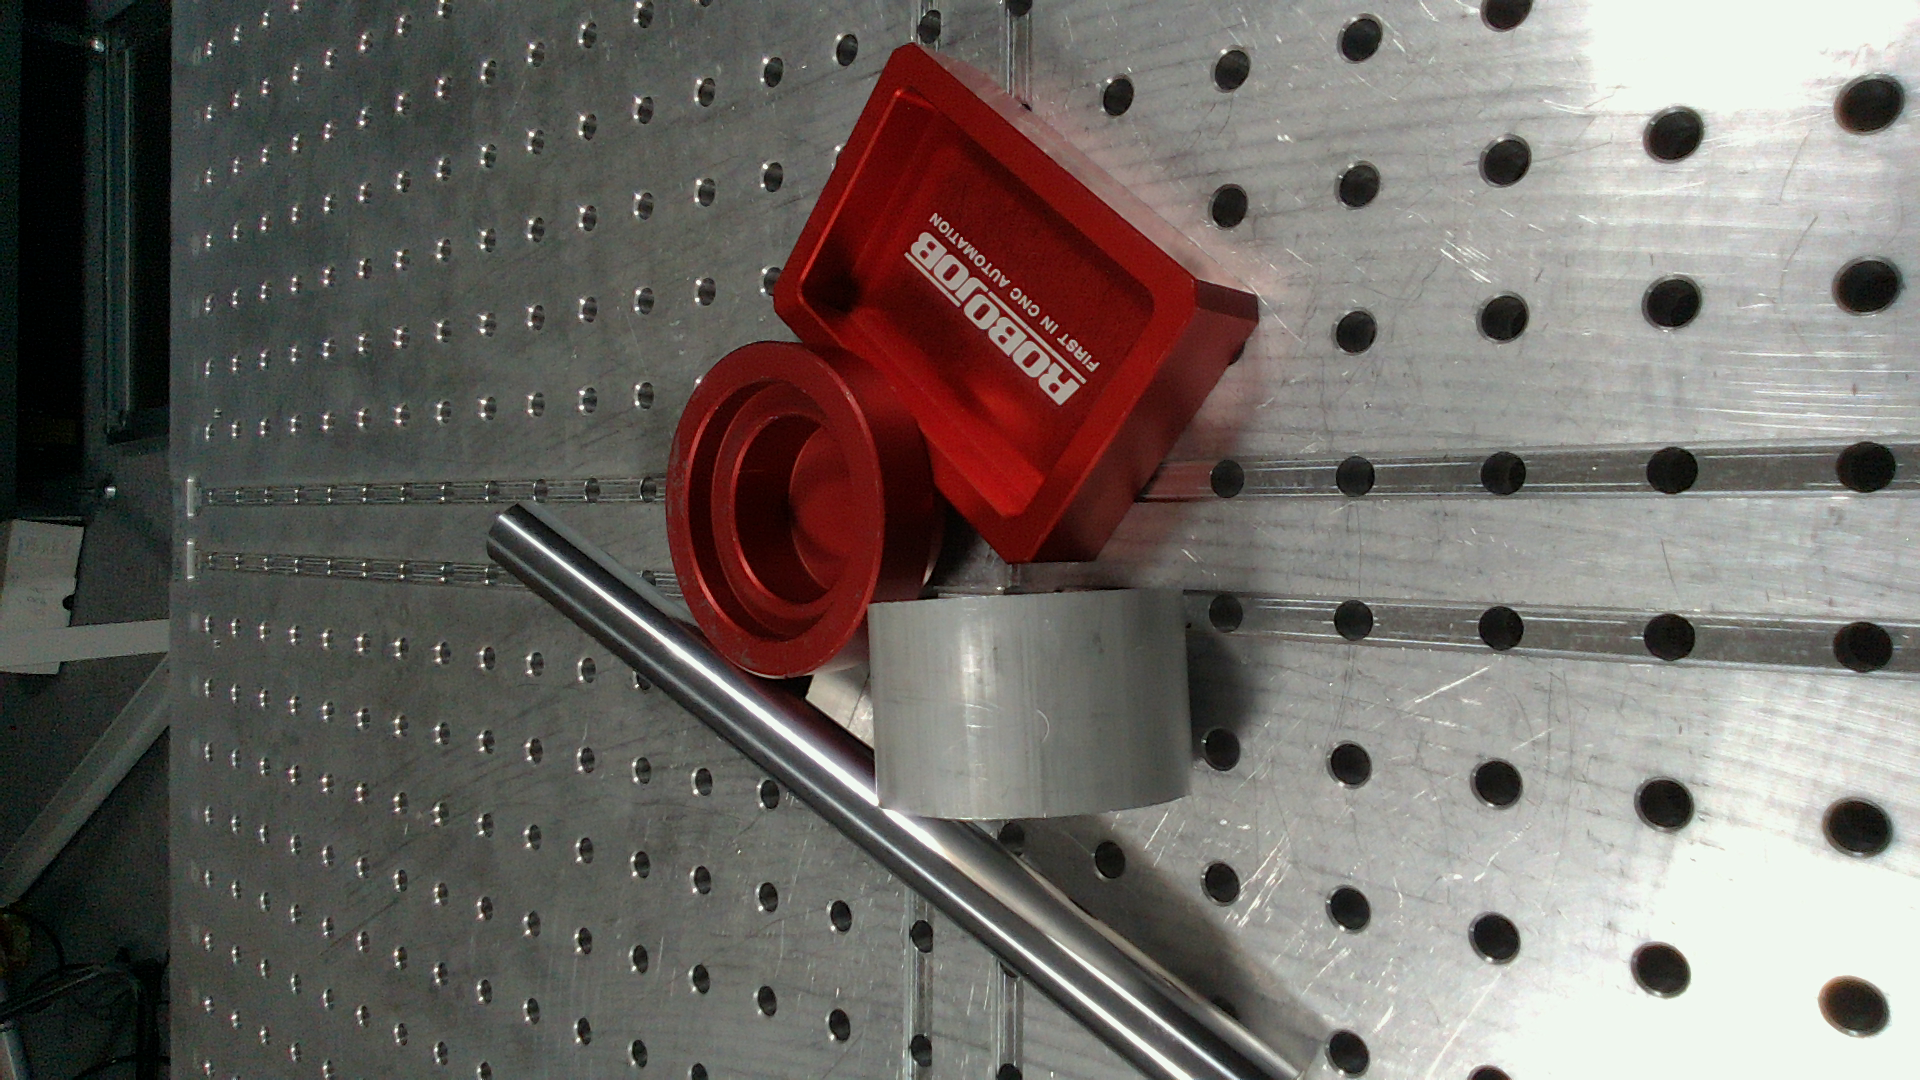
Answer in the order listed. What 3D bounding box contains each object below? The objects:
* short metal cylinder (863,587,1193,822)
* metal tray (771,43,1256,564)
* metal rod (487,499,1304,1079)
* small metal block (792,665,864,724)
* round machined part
[{"bbox_3d":[0.017,0.039,0.346,0.080,0.080,0.050,-5,87,40],"label":"short metal cylinder"},{"bbox_3d":[0.008,-0.067,0.386,0.130,0.030,0.090,48,118,30],"label":"metal tray"},{"bbox_3d":[-0.037,0.068,0.402,0.299,0.025,0.025,32,110,26],"label":"metal rod"},{"bbox_3d":[-0.058,0.042,0.447,0.050,0.025,0.050,35,112,35],"label":"small metal block"},{"bbox_3d":[-0.043,-0.010,0.413,0.098,0.042,0.098,0,90,42],"label":"round machined part"}]
